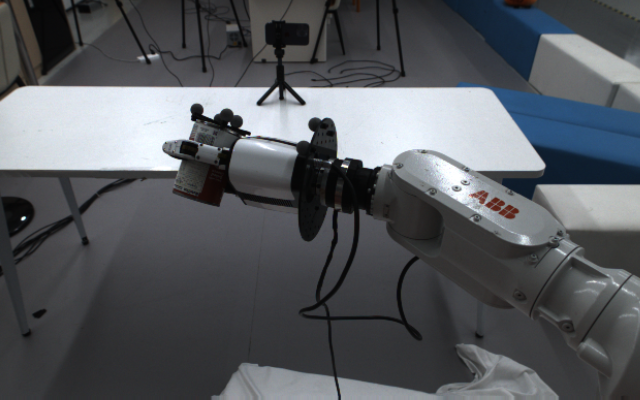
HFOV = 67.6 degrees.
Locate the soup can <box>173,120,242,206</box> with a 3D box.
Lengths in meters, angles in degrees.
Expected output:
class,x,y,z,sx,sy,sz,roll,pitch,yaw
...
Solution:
class,x,y,z,sx,sy,sz,roll,pitch,yaw
soup can,-0.152,-0.047,0.653,0.067,0.101,0.067,18,-1,0
